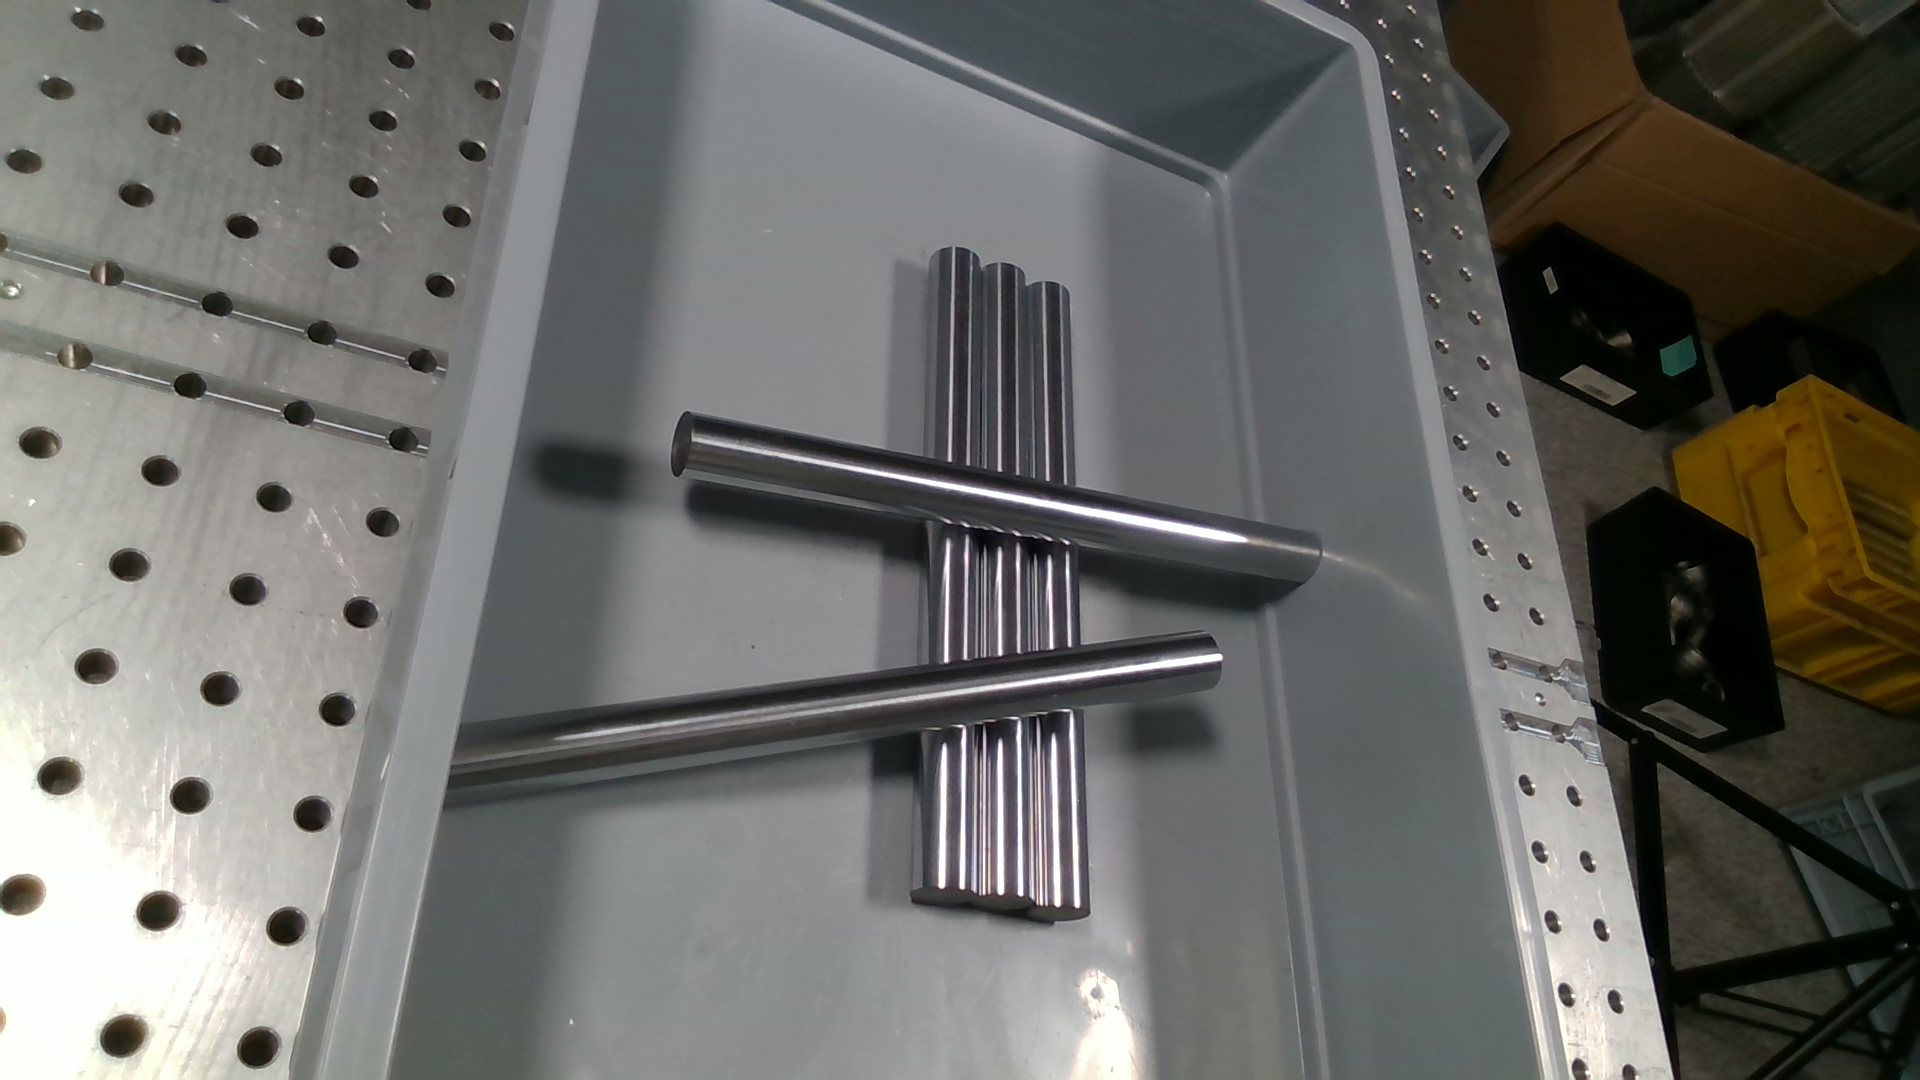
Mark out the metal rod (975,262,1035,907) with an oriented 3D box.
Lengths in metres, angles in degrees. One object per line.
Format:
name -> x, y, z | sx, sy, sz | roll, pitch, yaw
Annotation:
metal rod -> 0.017, 0.005, 0.593 | 0.025, 0.025, 0.299 | 15, 58, -24

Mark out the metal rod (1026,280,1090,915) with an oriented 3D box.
metal rod -> 0.039, 0.012, 0.603 | 0.025, 0.025, 0.299 | 15, 58, -24

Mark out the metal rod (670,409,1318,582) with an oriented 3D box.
metal rod -> 0.028, -0.014, 0.577 | 0.300, 0.025, 0.025 | 9, 61, -27

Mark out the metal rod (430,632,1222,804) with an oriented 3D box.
metal rod -> -0.034, 0.061, 0.505 | 0.300, 0.025, 0.025 | -5, 68, -26

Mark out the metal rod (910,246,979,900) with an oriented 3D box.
metal rod -> -0.005, 0.000, 0.582 | 0.025, 0.025, 0.299 | 15, 58, -24
